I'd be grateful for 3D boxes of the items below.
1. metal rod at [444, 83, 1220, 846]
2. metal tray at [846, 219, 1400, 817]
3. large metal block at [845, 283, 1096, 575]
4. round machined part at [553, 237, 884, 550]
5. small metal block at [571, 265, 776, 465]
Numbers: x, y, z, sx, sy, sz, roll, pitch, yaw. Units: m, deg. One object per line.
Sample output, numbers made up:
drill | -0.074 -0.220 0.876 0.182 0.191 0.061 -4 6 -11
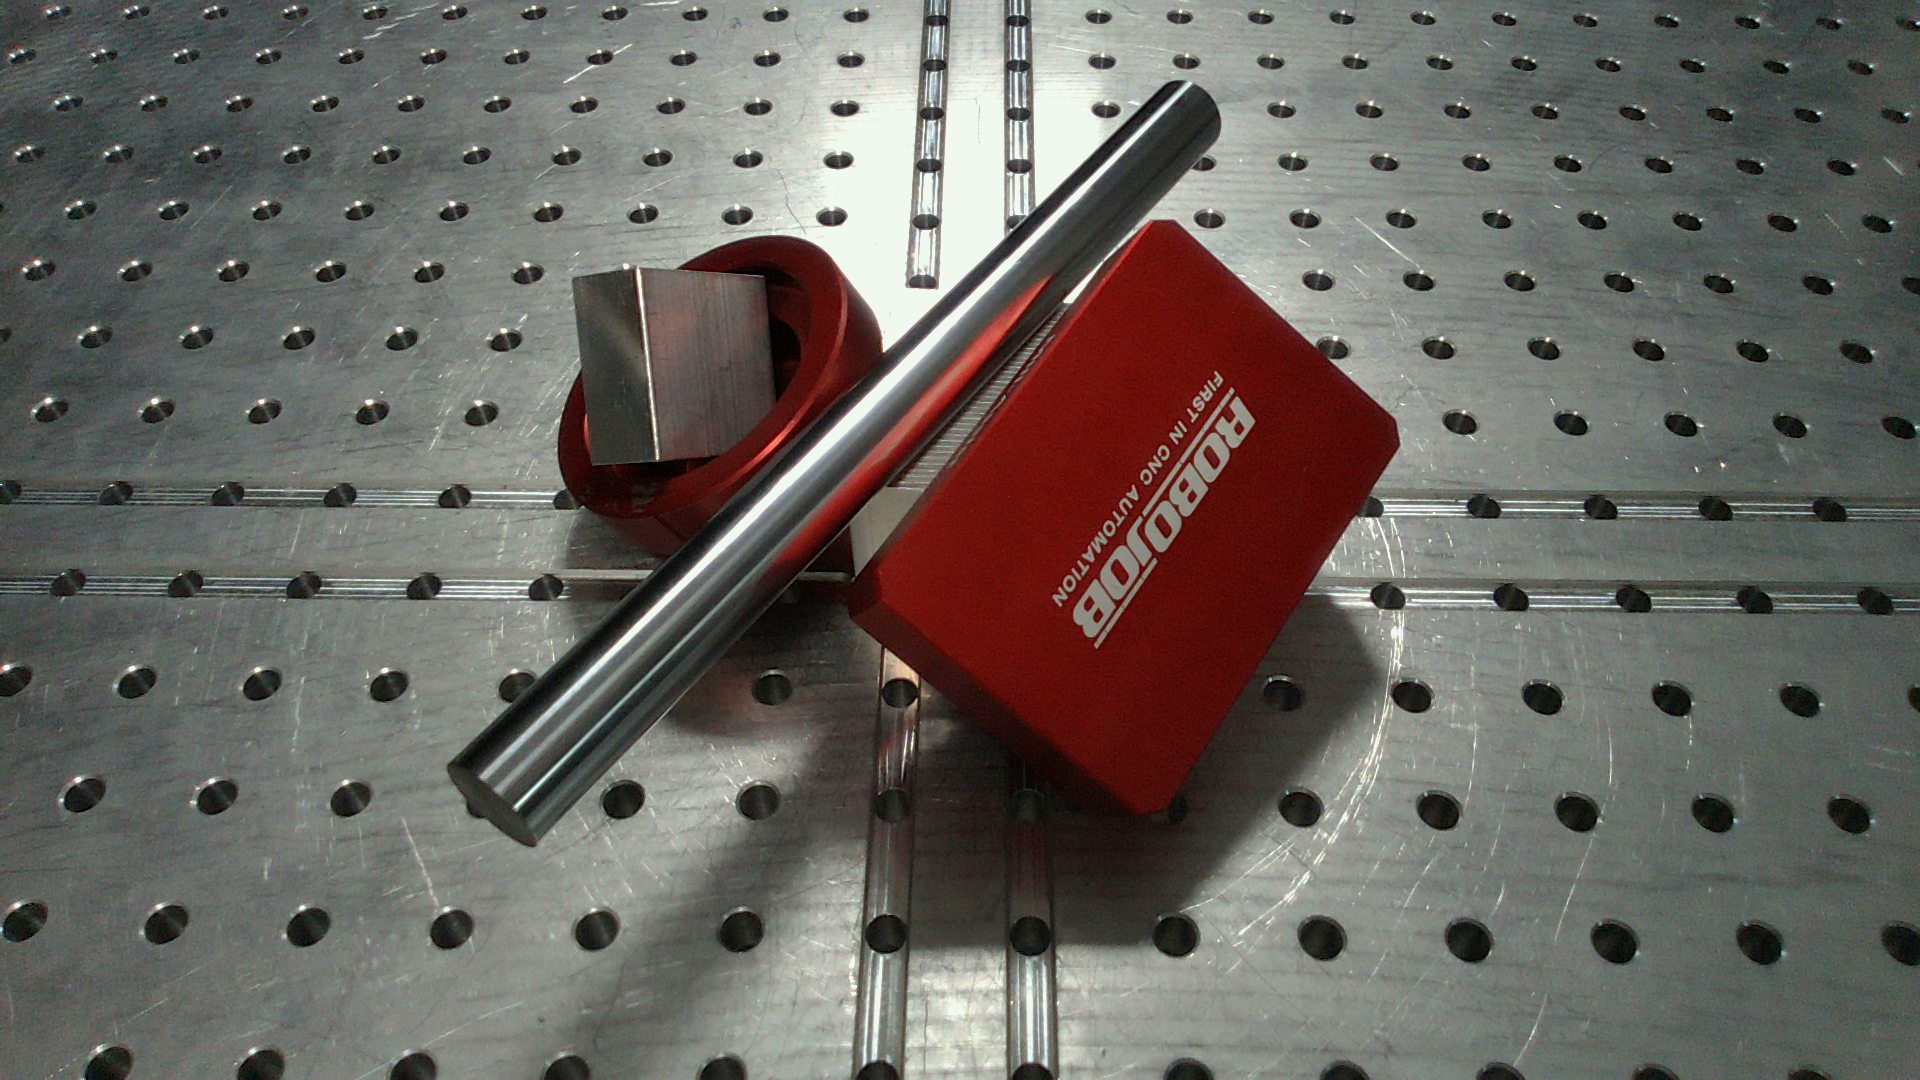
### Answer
metal rod | -0.012 -0.040 0.363 0.025 0.025 0.301 27 55 21
metal tray | 0.045 -0.007 0.353 0.090 0.030 0.130 40 70 -8
large metal block | 0.014 -0.025 0.399 0.080 0.050 0.080 7 50 6
round machined part | -0.065 -0.037 0.398 0.098 0.042 0.098 -16 50 20
small metal block | -0.078 -0.048 0.382 0.025 0.050 0.050 -1 6 33
